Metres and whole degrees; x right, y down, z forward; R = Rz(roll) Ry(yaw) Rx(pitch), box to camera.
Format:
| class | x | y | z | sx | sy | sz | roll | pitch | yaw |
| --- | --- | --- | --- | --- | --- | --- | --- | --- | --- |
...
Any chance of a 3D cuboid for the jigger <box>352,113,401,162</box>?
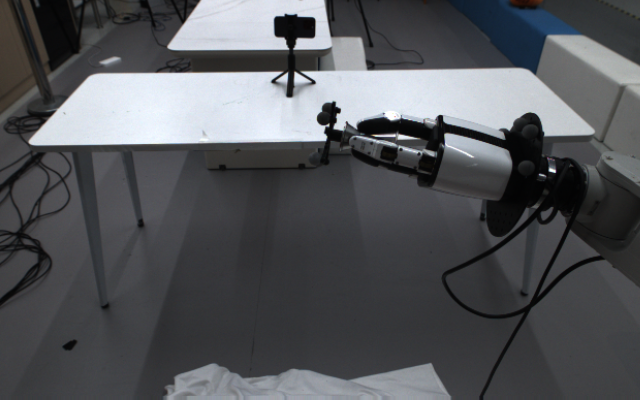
| class | x | y | z | sx | sy | sz | roll | pitch | yaw |
| --- | --- | --- | --- | --- | --- | --- | --- | --- | --- |
| jigger | 0.068 | -0.076 | 0.618 | 0.071 | 0.043 | 0.043 | 12 | 36 | 5 |
